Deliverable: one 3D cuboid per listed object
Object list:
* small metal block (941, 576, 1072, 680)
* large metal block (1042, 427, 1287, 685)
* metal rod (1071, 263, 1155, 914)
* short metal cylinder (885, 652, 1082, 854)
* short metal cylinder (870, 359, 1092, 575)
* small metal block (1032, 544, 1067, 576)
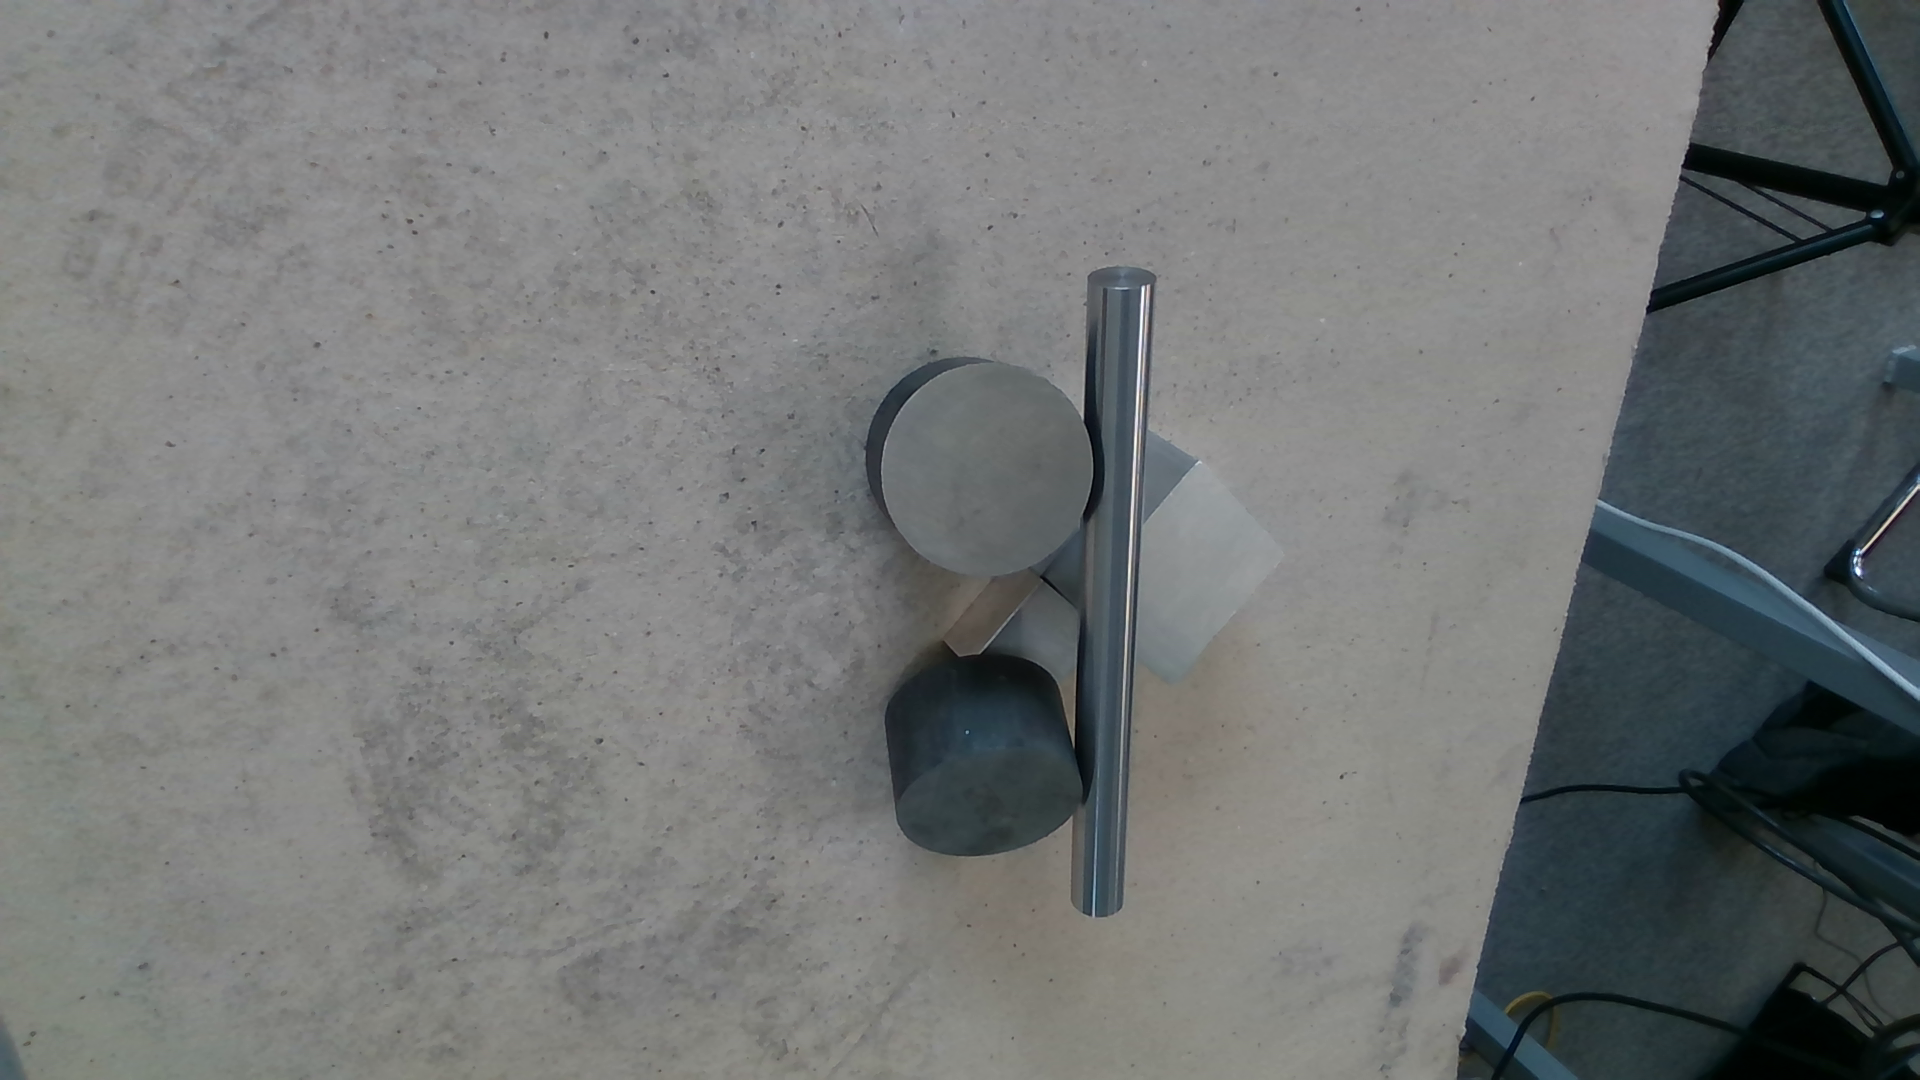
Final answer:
[{"bbox_3d":[0.029,0.043,0.622,0.050,0.025,0.050,-50,129,1],"label":"small metal block"},{"bbox_3d":[0.087,0.005,0.618,0.080,0.050,0.080,-49,129,1],"label":"large metal block"},{"bbox_3d":[0.061,0.035,0.571,0.025,0.025,0.301,-16,122,-24],"label":"metal rod"},{"bbox_3d":[0.009,0.094,0.604,0.080,0.050,0.080,-7,136,-6],"label":"short metal cylinder"},{"bbox_3d":[0.006,-0.030,0.534,0.080,0.050,0.080,-2,100,-10],"label":"short metal cylinder"},{"bbox_3d":[0.030,-0.021,0.589,0.050,0.025,0.050,-50,130,1],"label":"small metal block"}]
